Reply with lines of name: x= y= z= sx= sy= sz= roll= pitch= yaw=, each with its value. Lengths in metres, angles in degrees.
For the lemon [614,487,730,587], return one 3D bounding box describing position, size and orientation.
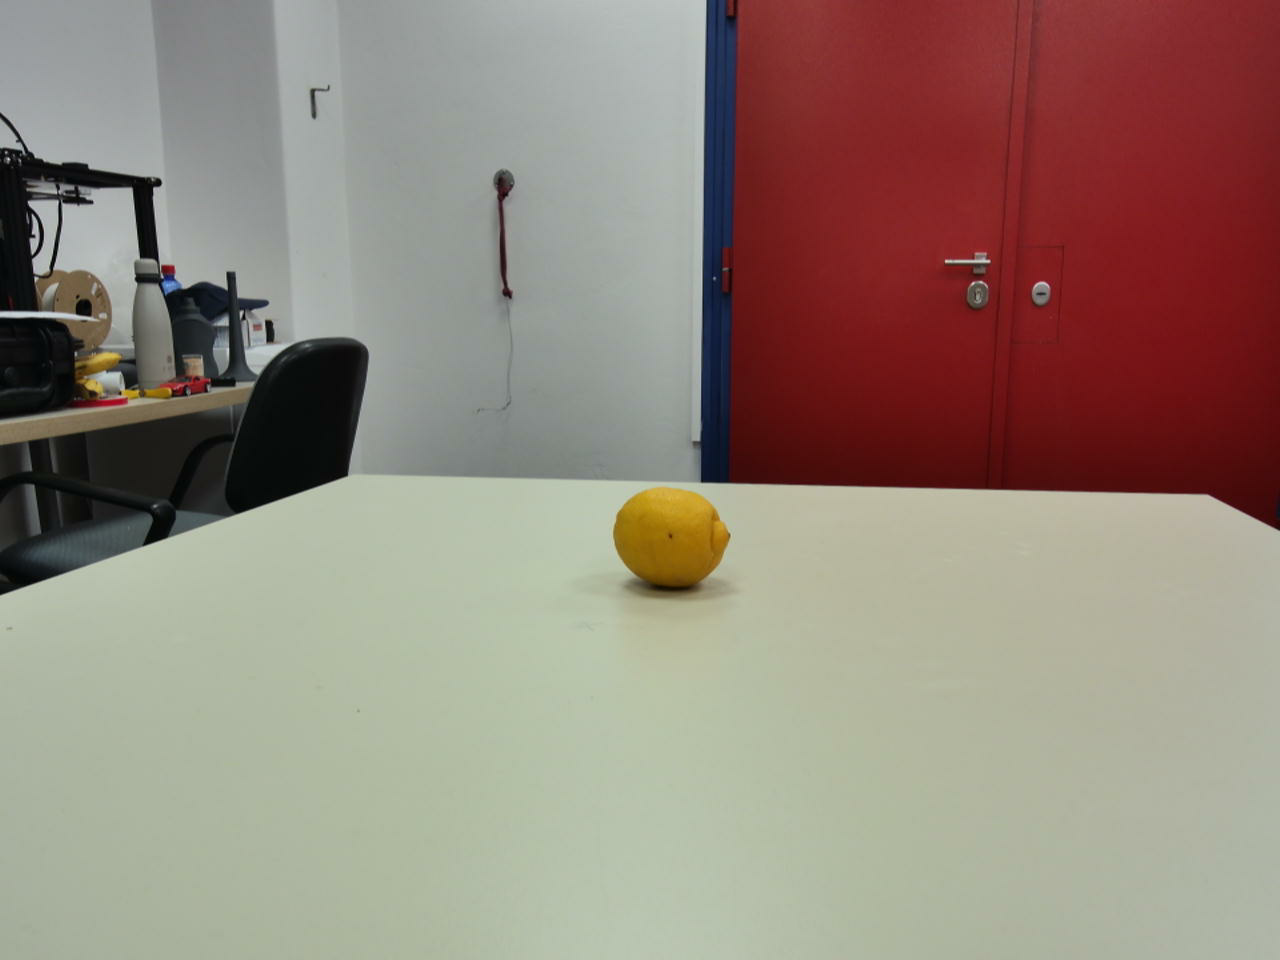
lemon: x=0.018 y=0.034 z=0.603 sx=0.060 sy=0.059 sz=0.067 roll=-4 pitch=9 yaw=-36
